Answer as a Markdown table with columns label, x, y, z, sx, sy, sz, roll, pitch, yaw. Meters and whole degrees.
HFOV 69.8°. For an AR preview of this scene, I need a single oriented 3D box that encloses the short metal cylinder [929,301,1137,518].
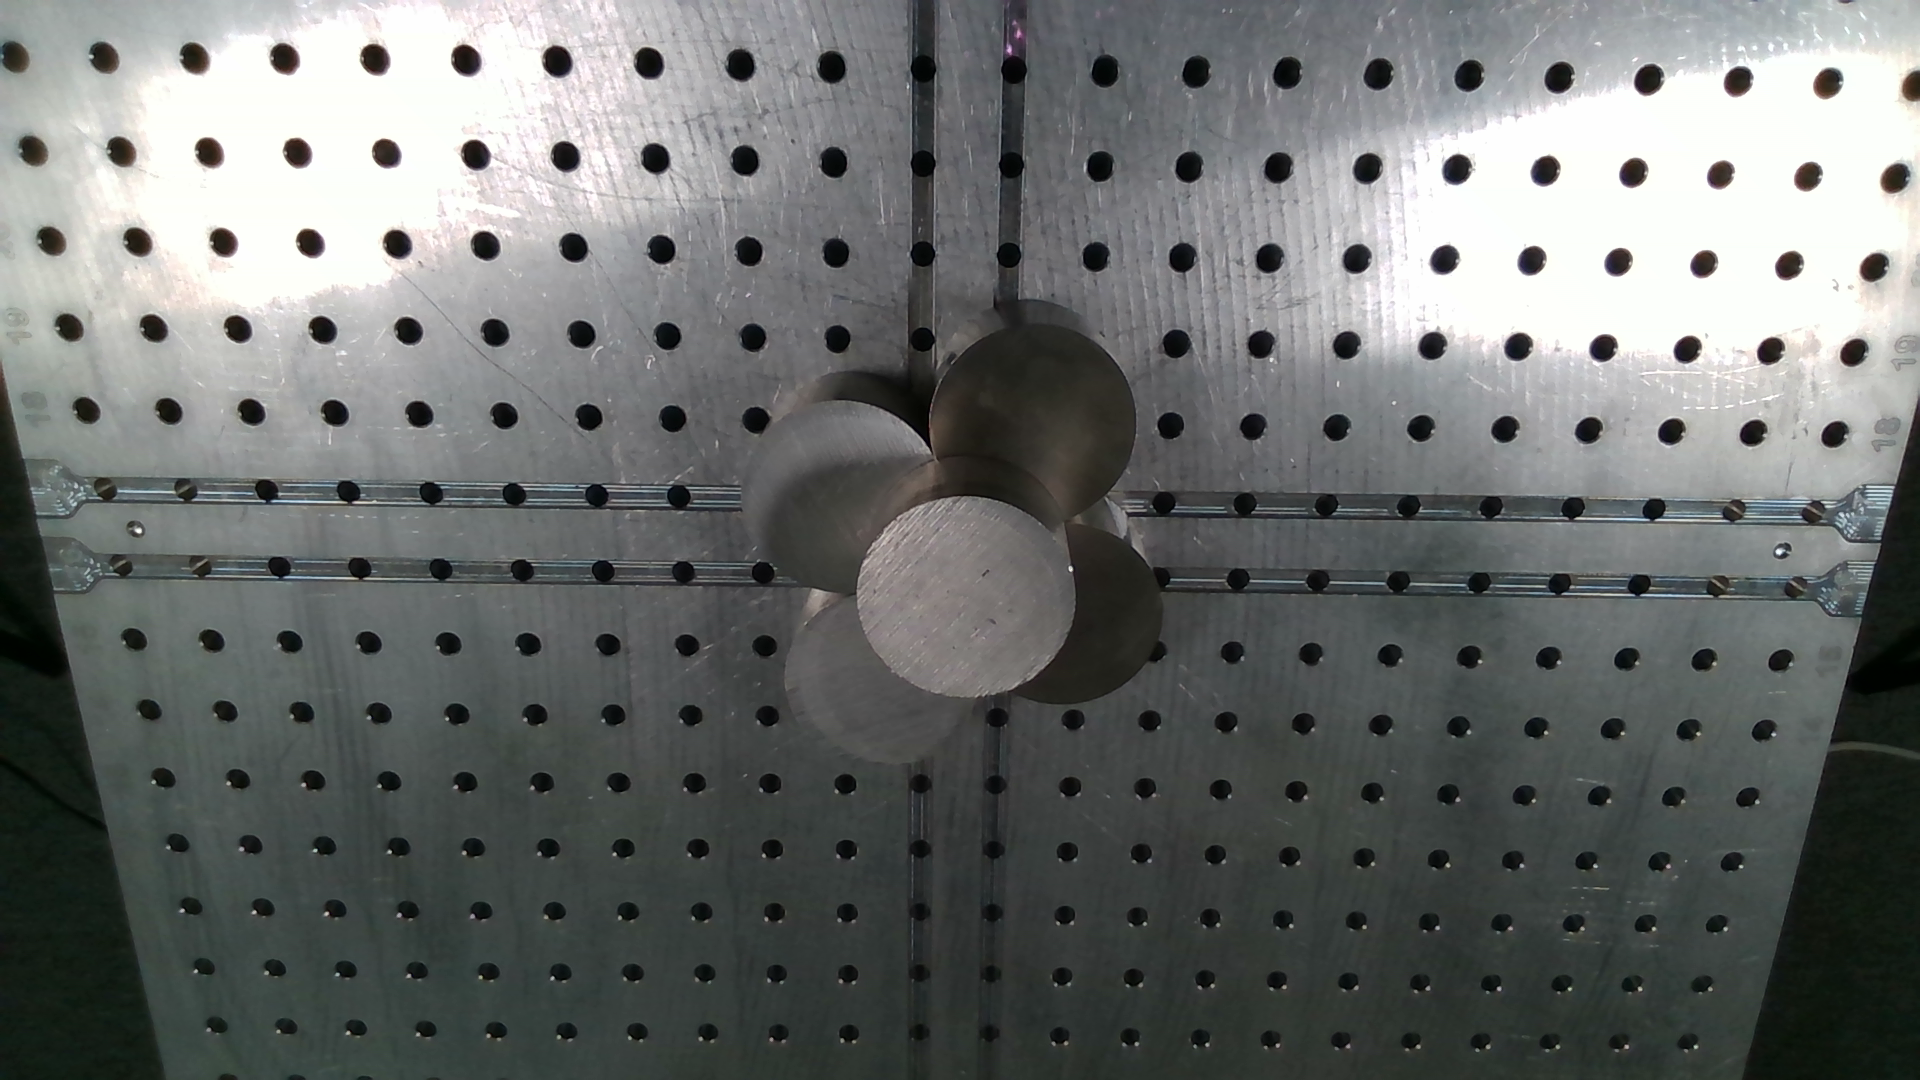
| label | x | y | z | sx | sy | sz | roll | pitch | yaw |
| --- | --- | --- | --- | --- | --- | --- | --- | --- | --- |
| short metal cylinder | 0.028 | -0.053 | 0.553 | 0.080 | 0.050 | 0.080 | 0 | 110 | 0 |

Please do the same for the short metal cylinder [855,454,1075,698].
| label | x | y | z | sx | sy | sz | roll | pitch | yaw |
| --- | --- | --- | --- | --- | --- | --- | --- | --- | --- |
| short metal cylinder | 0.002 | 0.013 | 0.523 | 0.080 | 0.050 | 0.080 | 1 | 111 | 1 |

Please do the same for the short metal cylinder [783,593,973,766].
| label | x | y | z | sx | sy | sz | roll | pitch | yaw |
| --- | --- | --- | --- | --- | --- | --- | --- | --- | --- |
| short metal cylinder | -0.033 | 0.049 | 0.591 | 0.080 | 0.050 | 0.080 | 0 | 110 | 0 |

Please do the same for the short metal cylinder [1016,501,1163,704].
| label | x | y | z | sx | sy | sz | roll | pitch | yaw |
| --- | --- | --- | --- | --- | --- | --- | --- | --- | --- |
| short metal cylinder | 0.042 | 0.022 | 0.581 | 0.080 | 0.050 | 0.080 | 0 | 110 | 0 |

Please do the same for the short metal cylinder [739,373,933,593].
| label | x | y | z | sx | sy | sz | roll | pitch | yaw |
| --- | --- | --- | --- | --- | --- | --- | --- | --- | --- |
| short metal cylinder | -0.047 | -0.025 | 0.564 | 0.080 | 0.050 | 0.080 | 0 | 110 | 0 |
